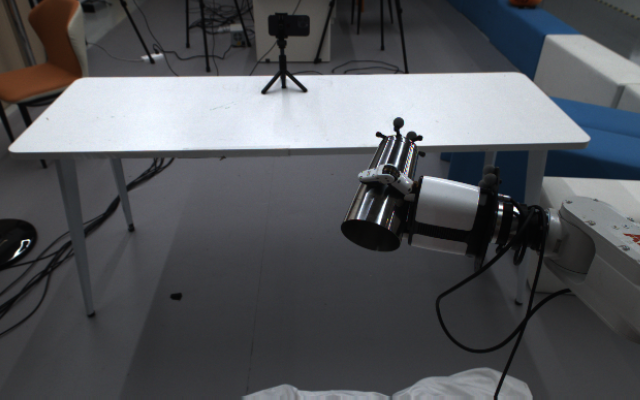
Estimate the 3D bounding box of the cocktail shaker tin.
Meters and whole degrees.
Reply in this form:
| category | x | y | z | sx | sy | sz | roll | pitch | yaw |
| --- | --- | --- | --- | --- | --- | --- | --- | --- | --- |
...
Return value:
| category | x | y | z | sx | sy | sz | roll | pitch | yaw |
| --- | --- | --- | --- | --- | --- | --- | --- | --- | --- |
| cocktail shaker tin | 0.100 | -0.017 | 0.750 | 0.093 | 0.093 | 0.170 | 14 | 60 | 17 |
